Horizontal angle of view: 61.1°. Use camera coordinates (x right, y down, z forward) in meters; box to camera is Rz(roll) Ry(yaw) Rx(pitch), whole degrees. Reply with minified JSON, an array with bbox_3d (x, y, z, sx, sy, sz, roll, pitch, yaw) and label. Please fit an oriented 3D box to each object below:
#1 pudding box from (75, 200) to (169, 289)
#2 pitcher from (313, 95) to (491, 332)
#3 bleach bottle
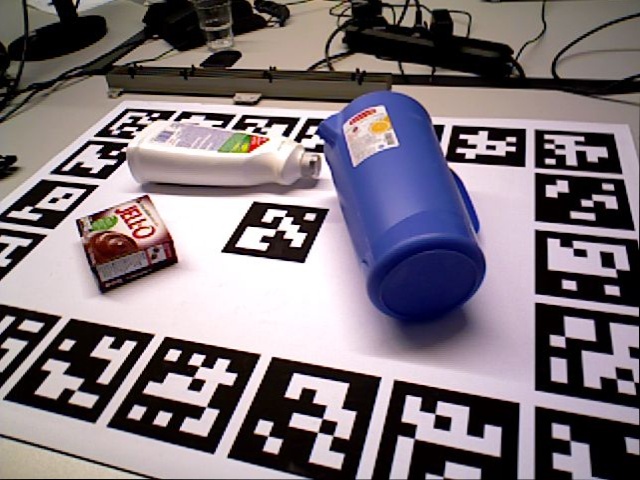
[{"bbox_3d":[-0.232,-0.001,0.619,0.088,0.039,0.113,-19,43,-22],"label":"pudding box"},{"bbox_3d":[0.090,-0.027,0.561,0.187,0.136,0.239,17,39,-26],"label":"pitcher"},{"bbox_3d":[-0.129,-0.110,0.718,0.251,0.069,0.100,6,47,12],"label":"bleach bottle"}]
